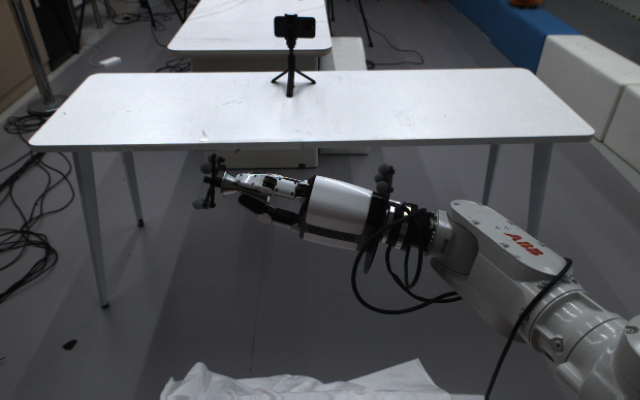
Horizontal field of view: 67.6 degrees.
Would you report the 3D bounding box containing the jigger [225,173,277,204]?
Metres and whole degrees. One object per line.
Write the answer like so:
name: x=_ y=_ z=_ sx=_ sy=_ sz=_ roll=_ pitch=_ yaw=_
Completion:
jigger: x=-0.100 y=-0.020 z=0.706 sx=0.071 sy=0.043 sz=0.043 roll=10 pitch=35 yaw=1
